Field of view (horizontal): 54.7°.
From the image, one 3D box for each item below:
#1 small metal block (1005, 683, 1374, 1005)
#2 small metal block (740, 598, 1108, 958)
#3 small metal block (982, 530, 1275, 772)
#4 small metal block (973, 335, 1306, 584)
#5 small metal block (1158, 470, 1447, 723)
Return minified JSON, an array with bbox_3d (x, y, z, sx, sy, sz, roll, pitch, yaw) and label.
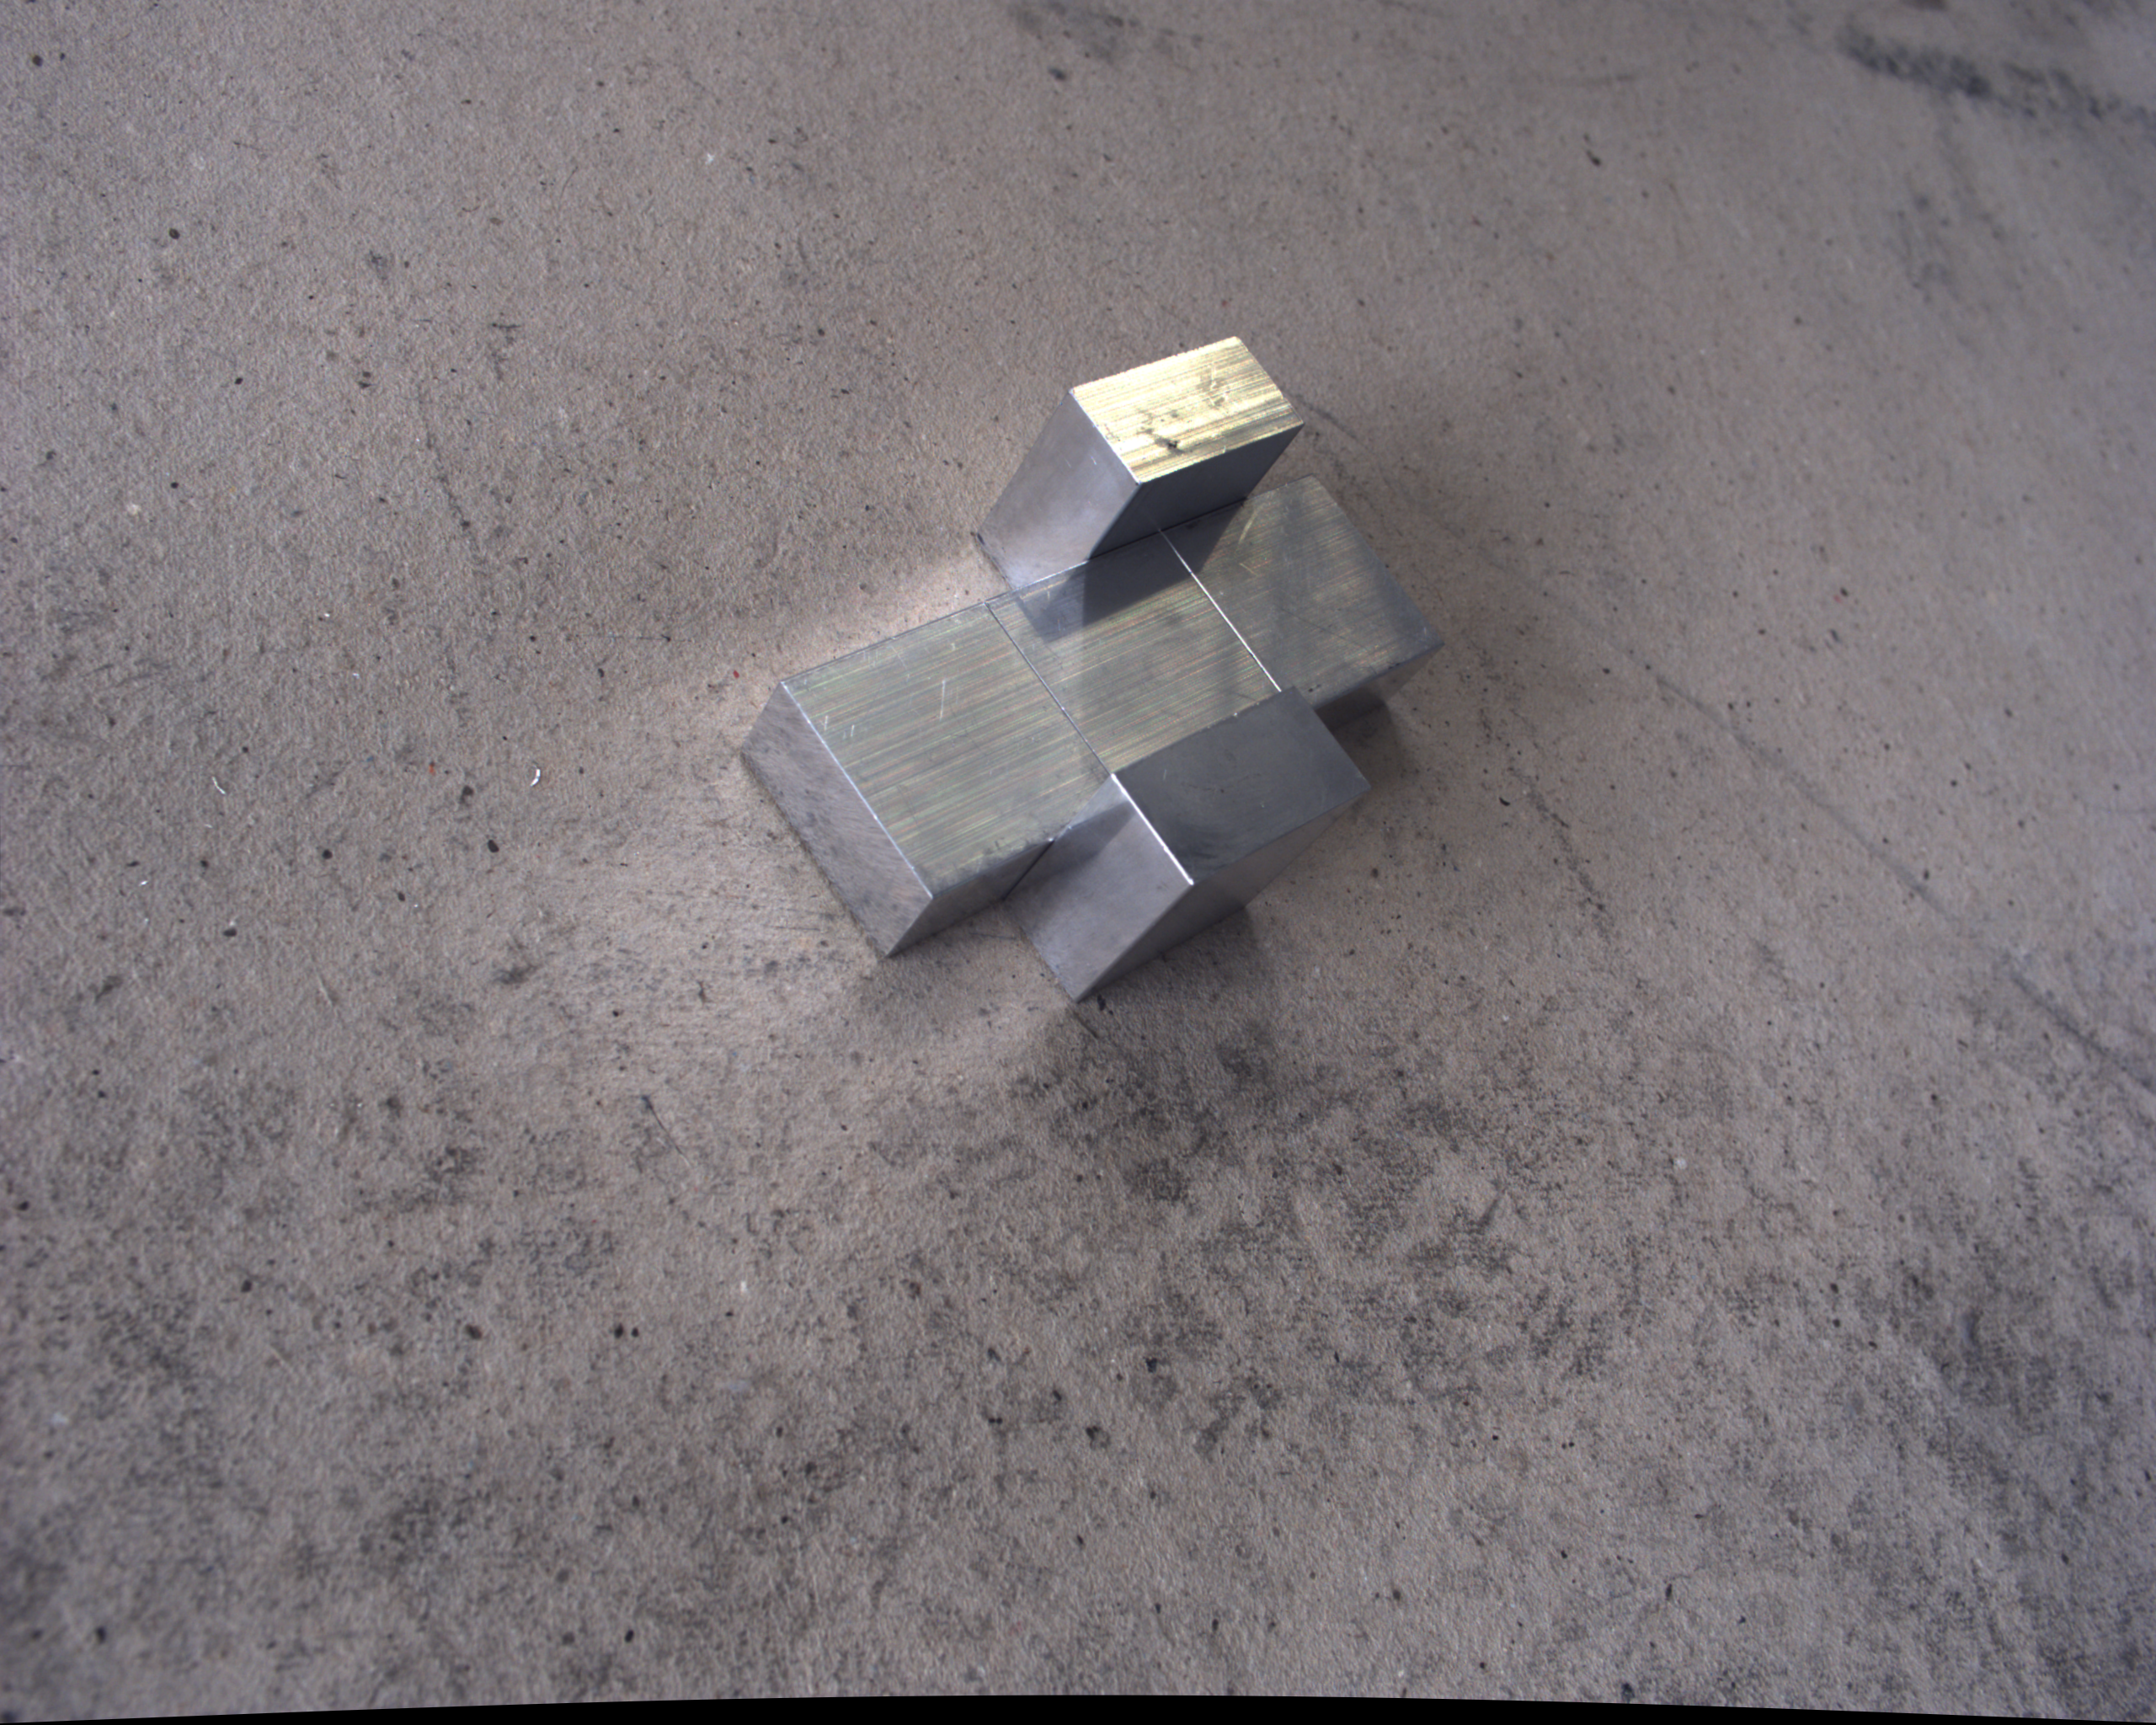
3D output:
[{"bbox_3d":[0.021,-0.003,0.403,0.050,0.050,0.025,-28,77,-37],"label":"small metal block"},{"bbox_3d":[-0.027,-0.017,0.400,0.050,0.025,0.050,-27,77,-37],"label":"small metal block"},{"bbox_3d":[0.009,-0.035,0.431,0.050,0.025,0.050,-27,77,-37],"label":"small metal block"},{"bbox_3d":[0.013,-0.081,0.446,0.050,0.050,0.025,-27,77,-36],"label":"small metal block"},{"bbox_3d":[0.044,-0.054,0.461,0.050,0.025,0.050,-27,77,-37],"label":"small metal block"}]
